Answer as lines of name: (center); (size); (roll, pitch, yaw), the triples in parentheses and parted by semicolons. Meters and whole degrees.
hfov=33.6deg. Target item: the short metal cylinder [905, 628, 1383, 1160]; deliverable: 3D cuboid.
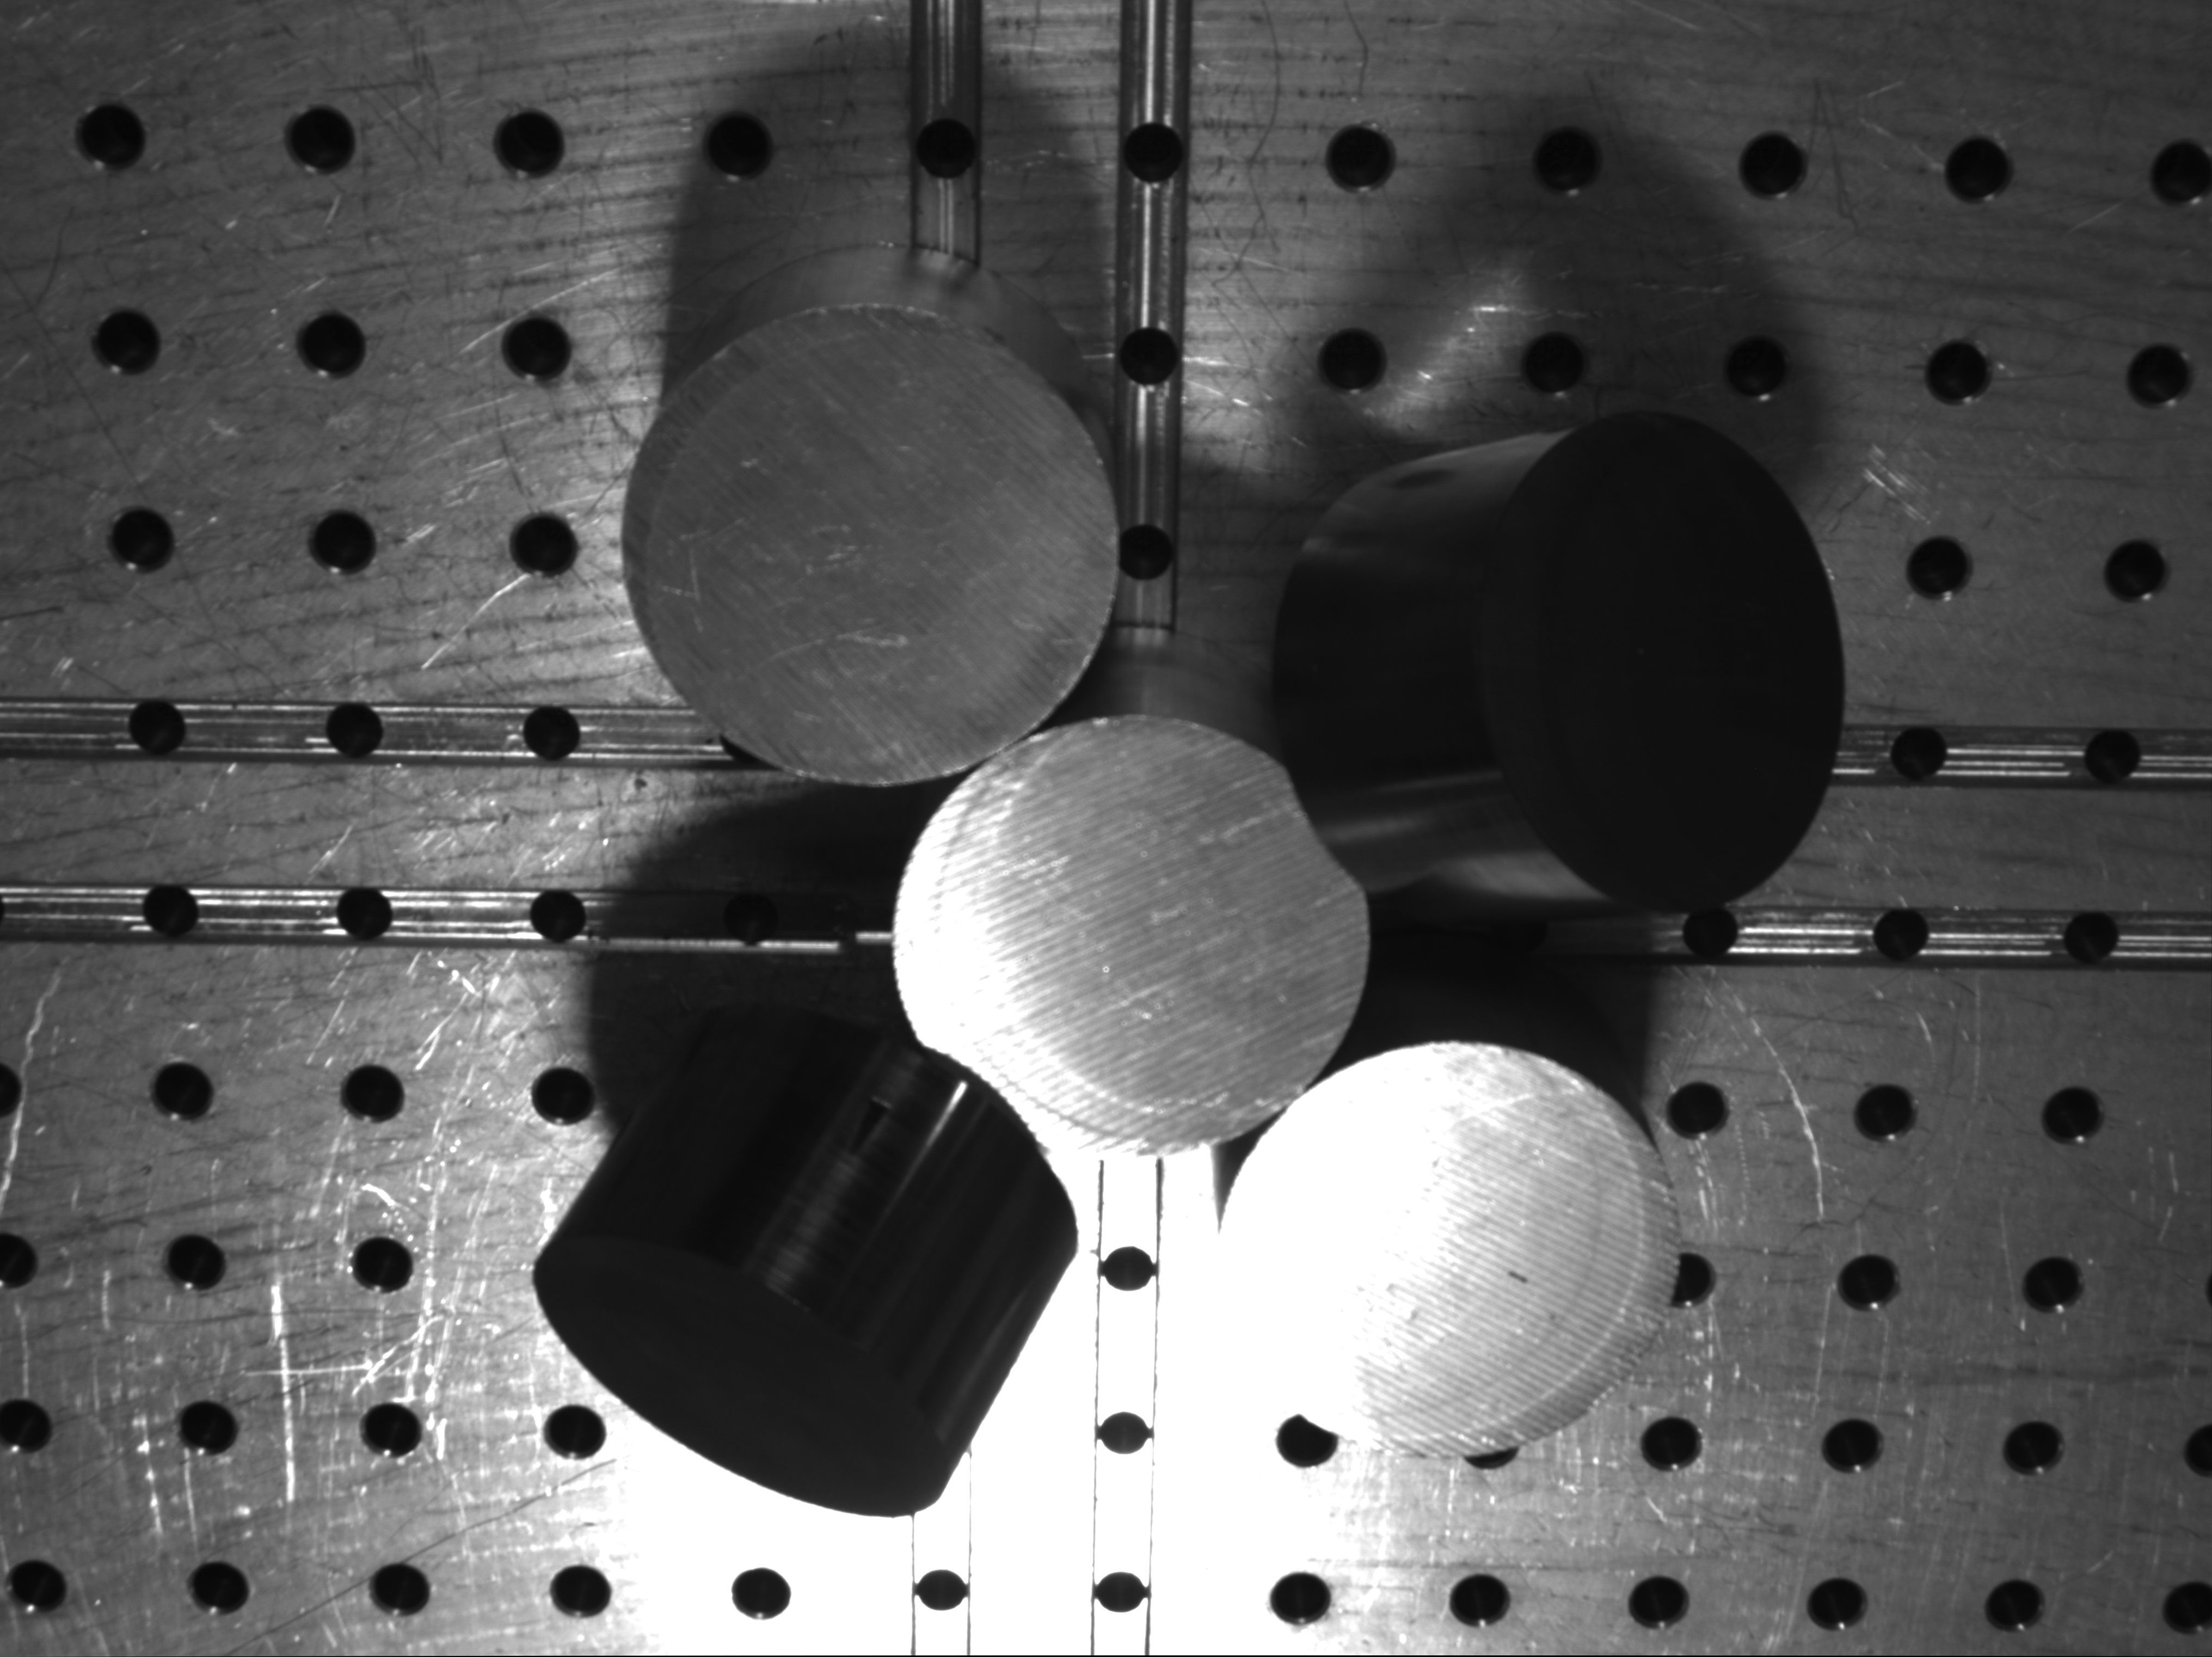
short metal cylinder: (0.006, 0.011, 0.636); (0.080, 0.050, 0.080); (0, 110, -1)

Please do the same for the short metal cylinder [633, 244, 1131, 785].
short metal cylinder: (-0.036, -0.053, 0.612); (0.080, 0.050, 0.080); (0, 110, -1)

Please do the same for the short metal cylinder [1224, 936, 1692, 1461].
short metal cylinder: (0.061, 0.066, 0.657); (0.080, 0.050, 0.080); (0, 110, -1)

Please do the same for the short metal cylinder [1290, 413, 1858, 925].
short metal cylinder: (0.077, -0.025, 0.603); (0.080, 0.050, 0.080); (3, 85, -35)

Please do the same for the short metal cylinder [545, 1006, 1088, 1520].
short metal cylinder: (-0.050, 0.076, 0.637); (0.080, 0.050, 0.080); (21, 147, 15)
